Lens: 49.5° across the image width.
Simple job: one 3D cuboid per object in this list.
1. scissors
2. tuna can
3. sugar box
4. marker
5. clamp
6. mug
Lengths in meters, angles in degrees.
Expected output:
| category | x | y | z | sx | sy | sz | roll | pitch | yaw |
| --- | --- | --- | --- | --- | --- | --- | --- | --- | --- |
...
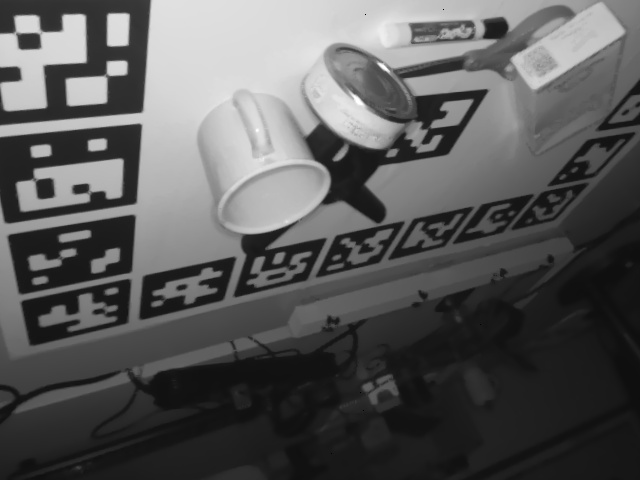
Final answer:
| category | x | y | z | sx | sy | sz | roll | pitch | yaw |
| --- | --- | --- | --- | --- | --- | --- | --- | --- | --- |
| scissors | 0.145 | -0.154 | 0.626 | 0.204 | 0.016 | 0.087 | -17 | 153 | -11 |
| tuna can | 0.022 | -0.103 | 0.552 | 0.087 | 0.086 | 0.033 | -2 | 144 | -35 |
| sugar box | 0.246 | -0.151 | 0.676 | 0.092 | 0.045 | 0.177 | -32 | 156 | 12 |
| marker | 0.109 | -0.170 | 0.578 | 0.122 | 0.019 | 0.019 | -15 | 148 | -18 |
| clamp | 0.014 | -0.054 | 0.694 | 0.167 | 0.036 | 0.201 | -19 | 149 | -12 |
| mug | -0.044 | -0.064 | 0.574 | 0.093 | 0.081 | 0.117 | -27 | 154 | 3 |
